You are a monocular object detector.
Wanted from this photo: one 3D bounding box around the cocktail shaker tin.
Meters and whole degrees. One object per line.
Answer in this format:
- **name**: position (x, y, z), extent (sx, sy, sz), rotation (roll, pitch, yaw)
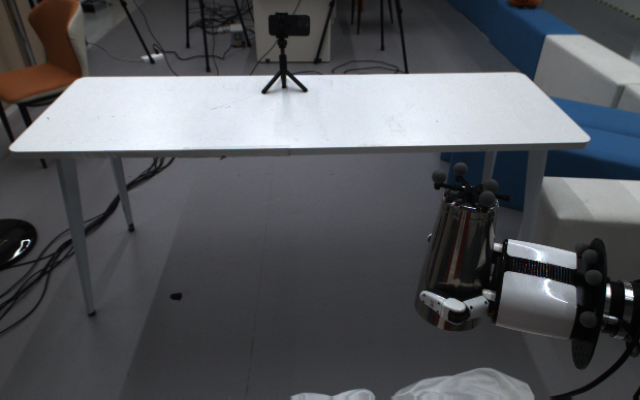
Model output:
- **cocktail shaker tin**: position (0.179, 0.071, 0.621), extent (0.093, 0.170, 0.093), rotation (1, 28, -1)
